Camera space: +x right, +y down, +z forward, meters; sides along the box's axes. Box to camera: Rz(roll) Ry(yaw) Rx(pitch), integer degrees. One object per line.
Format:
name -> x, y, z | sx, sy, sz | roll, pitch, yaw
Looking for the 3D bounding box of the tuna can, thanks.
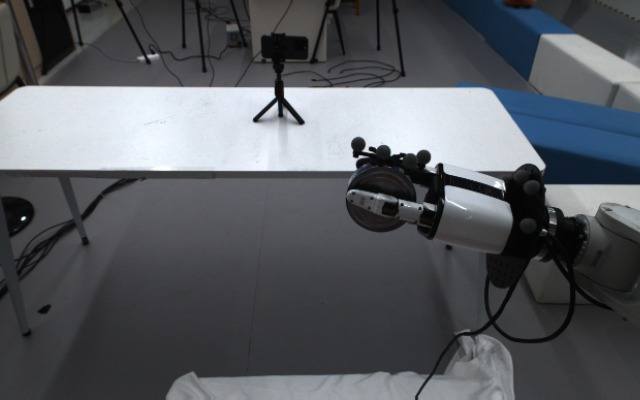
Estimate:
tuna can -> 0.076, -0.009, 0.602 | 0.085, 0.085, 0.034 | 5, 19, 4
